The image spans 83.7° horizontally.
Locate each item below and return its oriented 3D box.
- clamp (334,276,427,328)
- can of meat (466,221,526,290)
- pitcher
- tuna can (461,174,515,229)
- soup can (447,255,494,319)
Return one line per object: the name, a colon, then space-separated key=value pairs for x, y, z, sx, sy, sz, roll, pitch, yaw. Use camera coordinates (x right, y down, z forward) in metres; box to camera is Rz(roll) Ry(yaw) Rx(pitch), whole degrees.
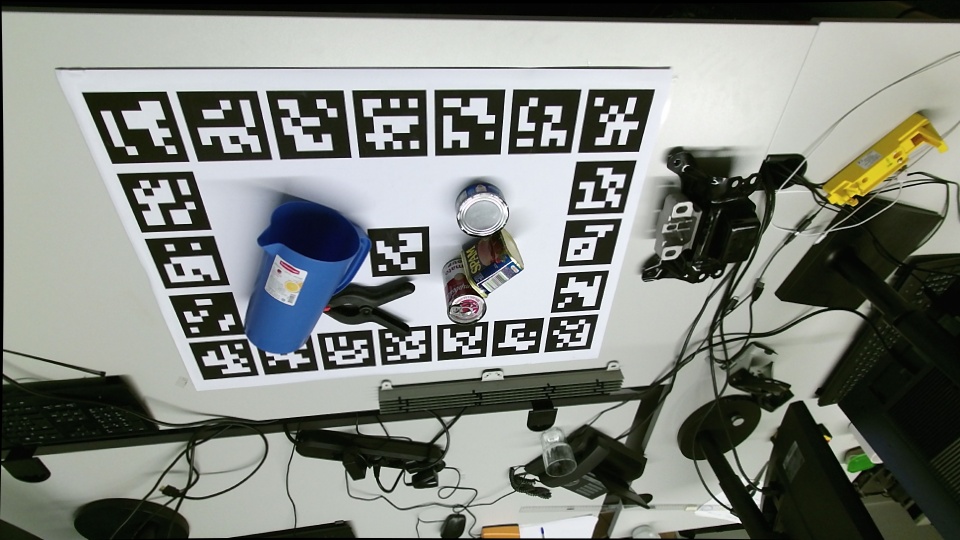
clamp: x=-0.181 y=0.061 z=0.984 sx=0.166 sy=0.036 sz=0.122 roll=0 pitch=130 yaw=-7
can of meat: x=0.033 y=-0.027 z=0.903 sx=0.084 sy=0.101 sz=0.058 roll=-35 pitch=124 yaw=10
pitcher: x=-0.279 y=0.013 z=0.853 sx=0.189 sy=0.133 sz=0.243 roll=0 pitch=137 yaw=-38
tuna can: x=0.012 y=-0.113 z=0.882 sx=0.086 sy=0.033 sz=0.086 roll=-5 pitch=125 yaw=-7
soup can: x=-0.017 y=0.028 z=0.940 sx=0.068 sy=0.101 sz=0.068 roll=-7 pitch=125 yaw=-9
